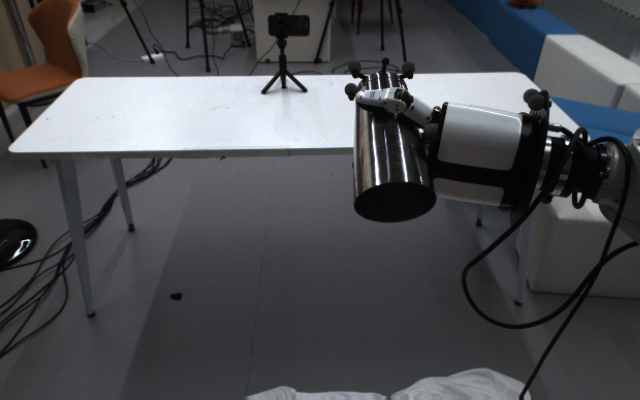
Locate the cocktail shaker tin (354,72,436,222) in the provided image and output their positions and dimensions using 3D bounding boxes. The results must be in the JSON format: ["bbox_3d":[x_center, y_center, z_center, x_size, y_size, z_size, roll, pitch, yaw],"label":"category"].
[{"bbox_3d":[0.081,-0.069,0.577,0.093,0.093,0.170,0,59,-3],"label":"cocktail shaker tin"}]
